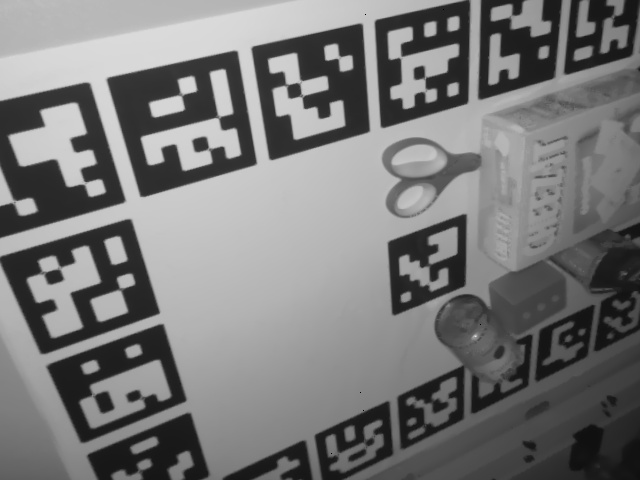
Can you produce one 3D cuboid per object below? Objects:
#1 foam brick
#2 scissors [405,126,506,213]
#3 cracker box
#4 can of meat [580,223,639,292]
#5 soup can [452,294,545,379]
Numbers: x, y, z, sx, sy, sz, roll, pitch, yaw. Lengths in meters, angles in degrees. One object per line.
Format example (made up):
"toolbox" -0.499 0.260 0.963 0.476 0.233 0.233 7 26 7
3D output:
"foam brick" 0.277 0.064 0.815 0.079 0.051 0.052 -28 122 -12
"scissors" 0.179 -0.094 0.699 0.205 0.016 0.087 -24 121 -16
"cracker box" 0.301 -0.088 0.726 0.216 0.071 0.163 -26 123 -19
"can of meat" 0.367 0.014 0.815 0.103 0.083 0.057 -6 115 -24
"soup can" 0.207 0.114 0.802 0.068 0.067 0.103 -51 129 3
